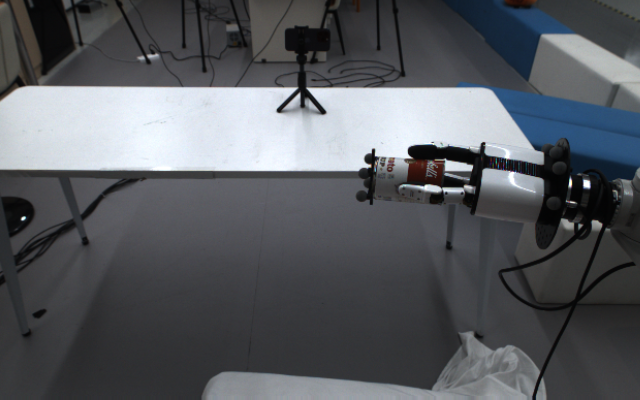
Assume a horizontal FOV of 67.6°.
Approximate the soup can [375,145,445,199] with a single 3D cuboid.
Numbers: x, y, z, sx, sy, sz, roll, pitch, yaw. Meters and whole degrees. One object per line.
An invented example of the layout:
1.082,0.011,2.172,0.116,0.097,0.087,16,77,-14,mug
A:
0.136,-0.030,0.730,0.101,0.067,0.067,5,35,13,soup can
